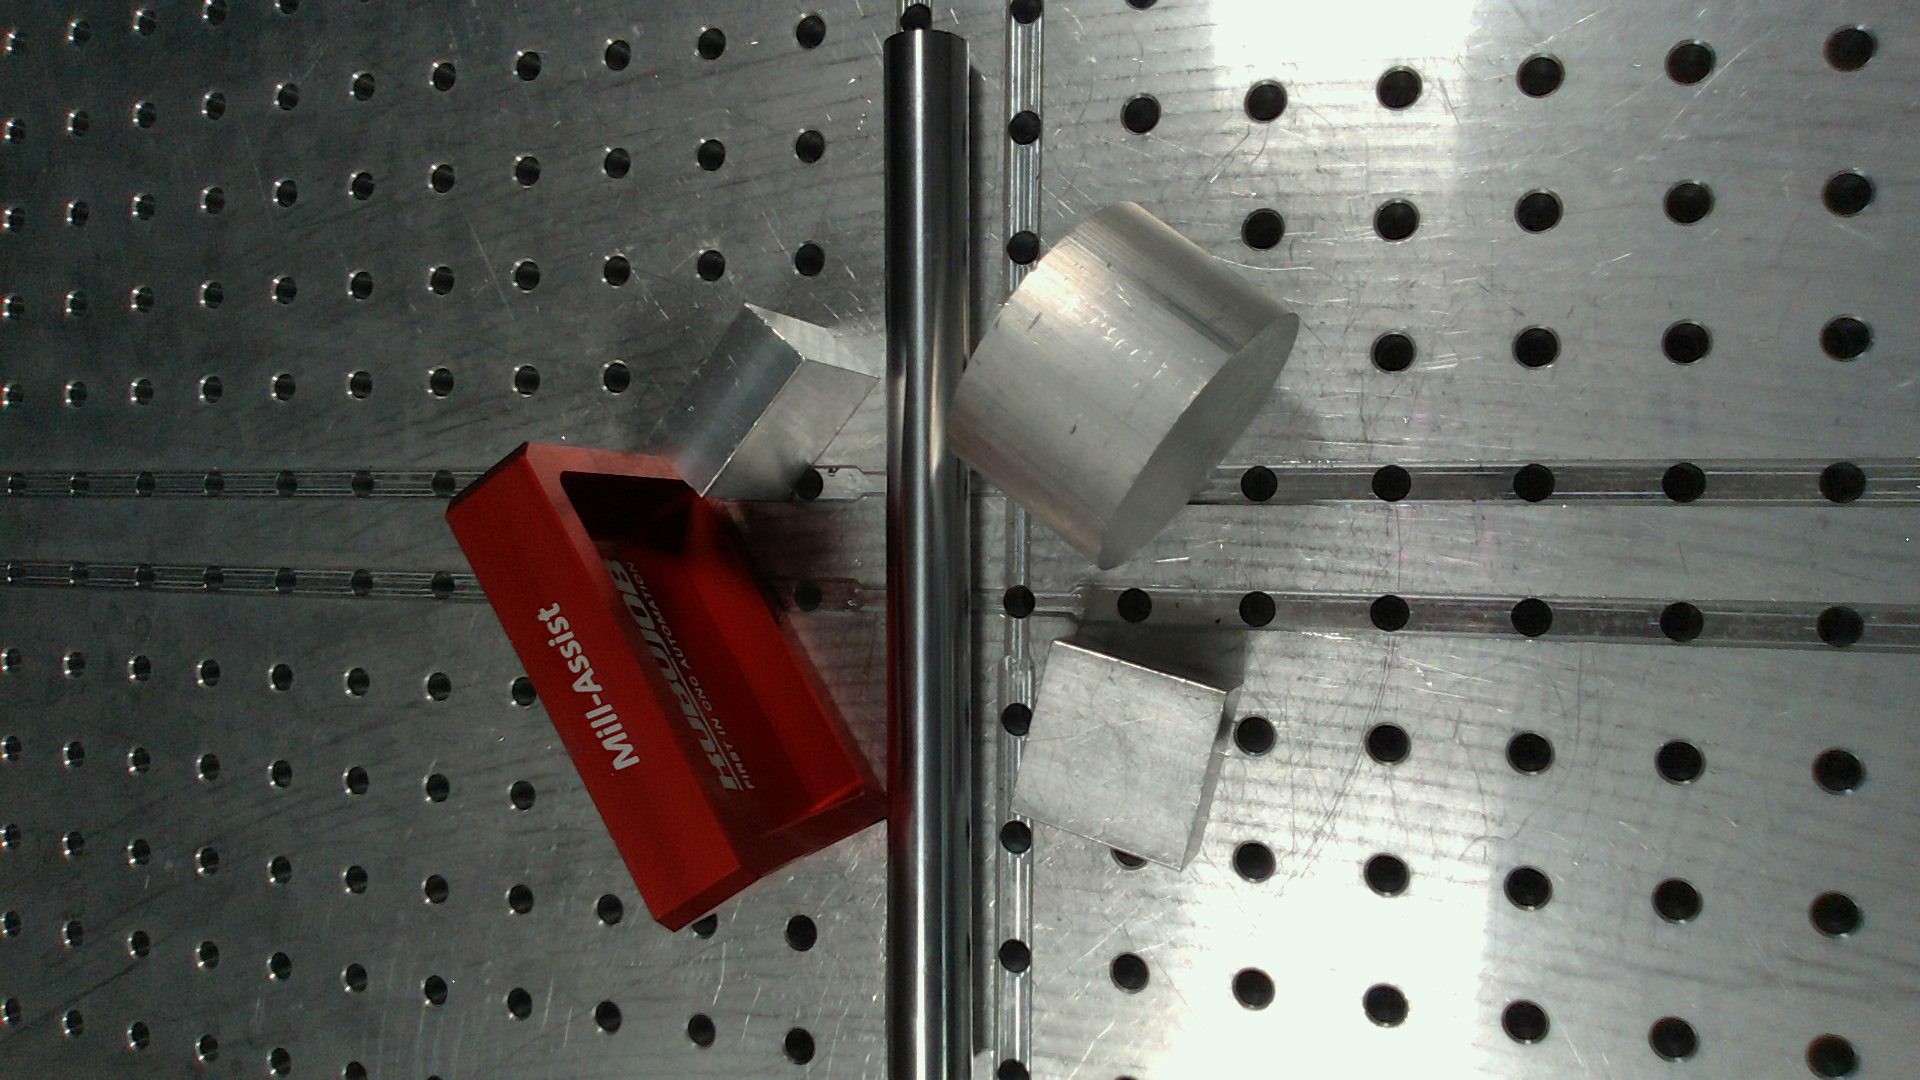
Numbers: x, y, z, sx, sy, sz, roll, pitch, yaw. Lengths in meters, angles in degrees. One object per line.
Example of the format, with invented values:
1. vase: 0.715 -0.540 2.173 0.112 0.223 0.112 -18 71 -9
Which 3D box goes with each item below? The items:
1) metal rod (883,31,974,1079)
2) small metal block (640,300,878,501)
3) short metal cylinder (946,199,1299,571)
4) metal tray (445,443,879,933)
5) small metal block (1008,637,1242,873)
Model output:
1. metal rod: -0.009 0.006 0.401 0.025 0.025 0.300 0 90 20
2. small metal block: -0.058 -0.039 0.405 0.025 0.050 0.050 43 104 15
3. short metal cylinder: 0.042 -0.039 0.354 0.050 0.080 0.080 39 103 16
4. metal tray: -0.079 0.037 0.392 0.030 0.090 0.130 -34 79 17
5. small metal block: 0.046 0.058 0.382 0.050 0.025 0.050 16 95 19
